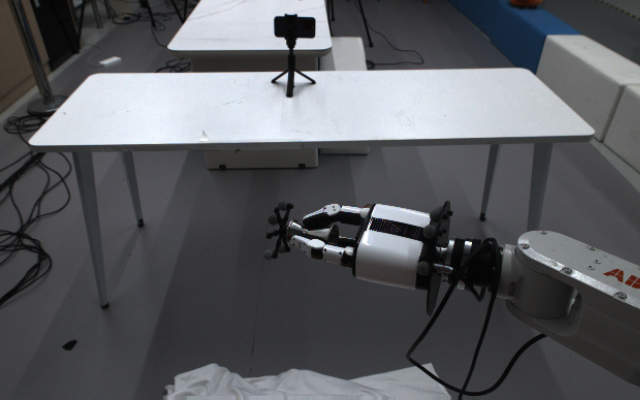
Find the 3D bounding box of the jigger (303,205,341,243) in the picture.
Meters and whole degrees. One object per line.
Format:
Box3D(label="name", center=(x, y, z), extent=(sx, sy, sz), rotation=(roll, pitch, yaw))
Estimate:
Box3D(label="jigger", center=(-0.005, 0.049, 0.717), extent=(0.071, 0.043, 0.043), rotation=(8, 34, 23))
